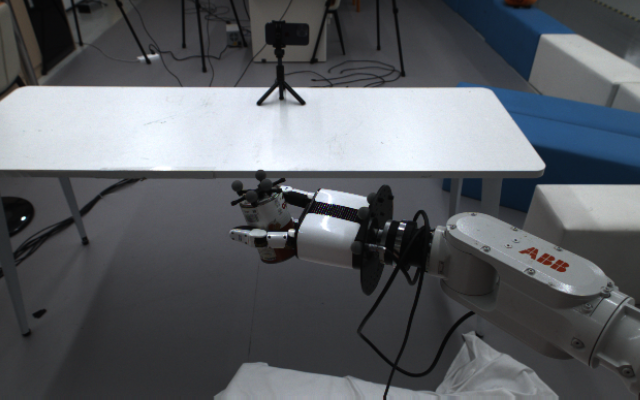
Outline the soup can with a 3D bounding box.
[{"bbox_3d":[-0.074,0.038,0.736,0.067,0.101,0.067,-16,23,7],"label":"soup can"}]
